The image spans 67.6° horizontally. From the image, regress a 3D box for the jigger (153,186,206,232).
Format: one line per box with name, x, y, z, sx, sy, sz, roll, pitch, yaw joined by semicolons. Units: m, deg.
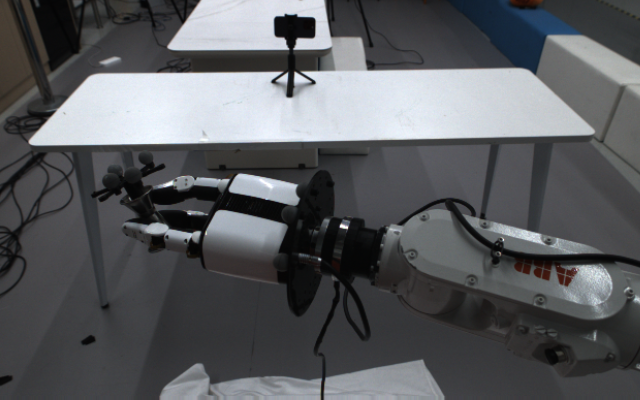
jigger;-0.193;0.021;0.569;0.043;0.071;0.043;-20;24;9
